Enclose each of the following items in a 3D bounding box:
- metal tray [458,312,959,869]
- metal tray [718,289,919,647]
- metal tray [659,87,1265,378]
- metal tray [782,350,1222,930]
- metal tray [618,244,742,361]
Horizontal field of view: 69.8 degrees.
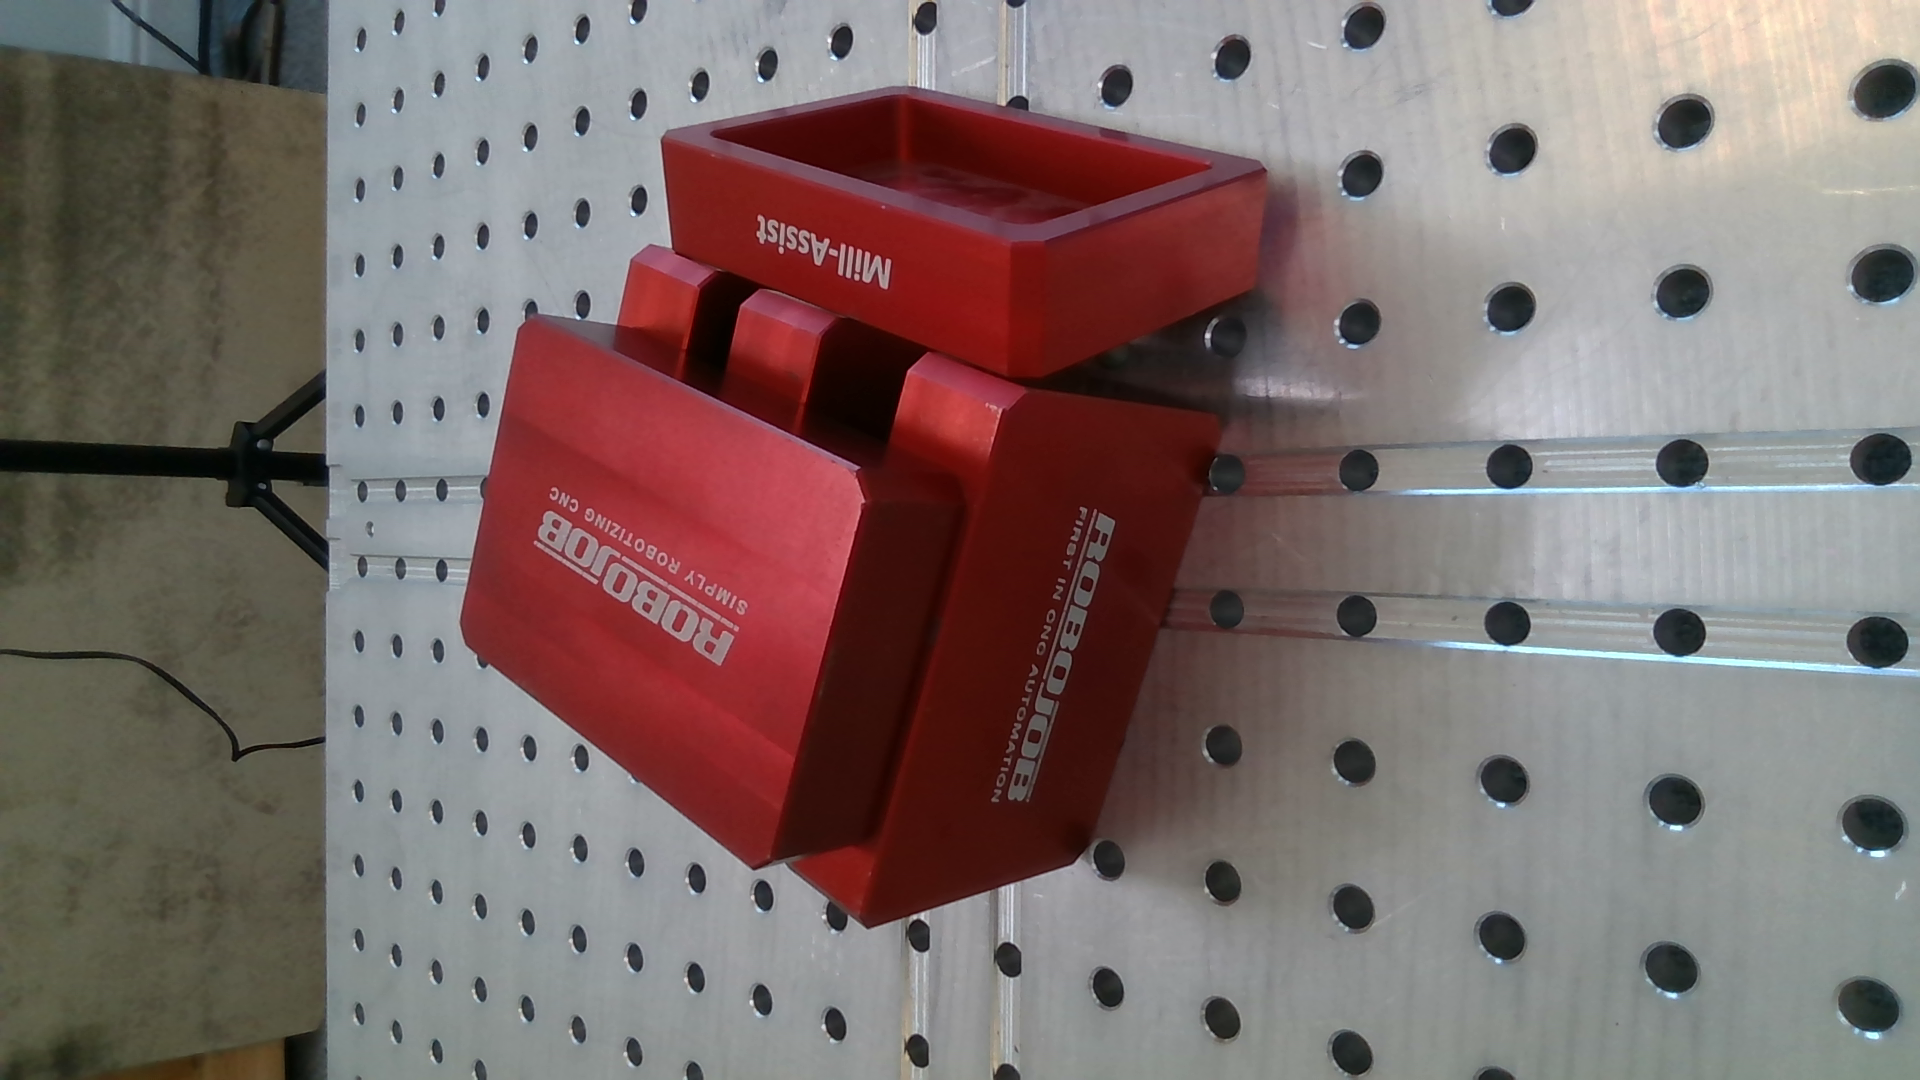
[{"bbox_3d":[-0.066,0.006,0.327,0.130,0.030,0.090,26,107,37],"label":"metal tray"},{"bbox_3d":[-0.032,0.003,0.376,0.030,0.090,0.130,25,107,36],"label":"metal tray"},{"bbox_3d":[-0.002,-0.084,0.348,0.130,0.090,0.030,26,128,37],"label":"metal tray"},{"bbox_3d":[0.011,0.024,0.340,0.030,0.090,0.130,27,107,37],"label":"metal tray"},{"bbox_3d":[-0.064,-0.013,0.405,0.030,0.090,0.130,27,108,37],"label":"metal tray"}]
